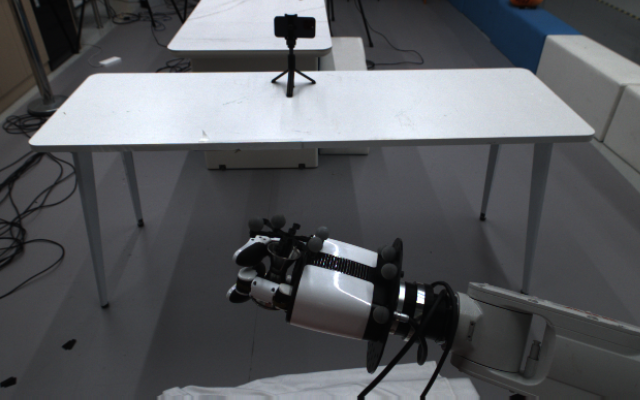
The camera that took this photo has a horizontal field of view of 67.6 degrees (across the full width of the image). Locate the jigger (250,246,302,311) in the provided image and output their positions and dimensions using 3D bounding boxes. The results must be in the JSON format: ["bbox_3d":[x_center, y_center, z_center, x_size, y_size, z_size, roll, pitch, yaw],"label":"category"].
[{"bbox_3d":[-0.047,0.088,0.572,0.043,0.071,0.043,15,17,-5],"label":"jigger"}]
